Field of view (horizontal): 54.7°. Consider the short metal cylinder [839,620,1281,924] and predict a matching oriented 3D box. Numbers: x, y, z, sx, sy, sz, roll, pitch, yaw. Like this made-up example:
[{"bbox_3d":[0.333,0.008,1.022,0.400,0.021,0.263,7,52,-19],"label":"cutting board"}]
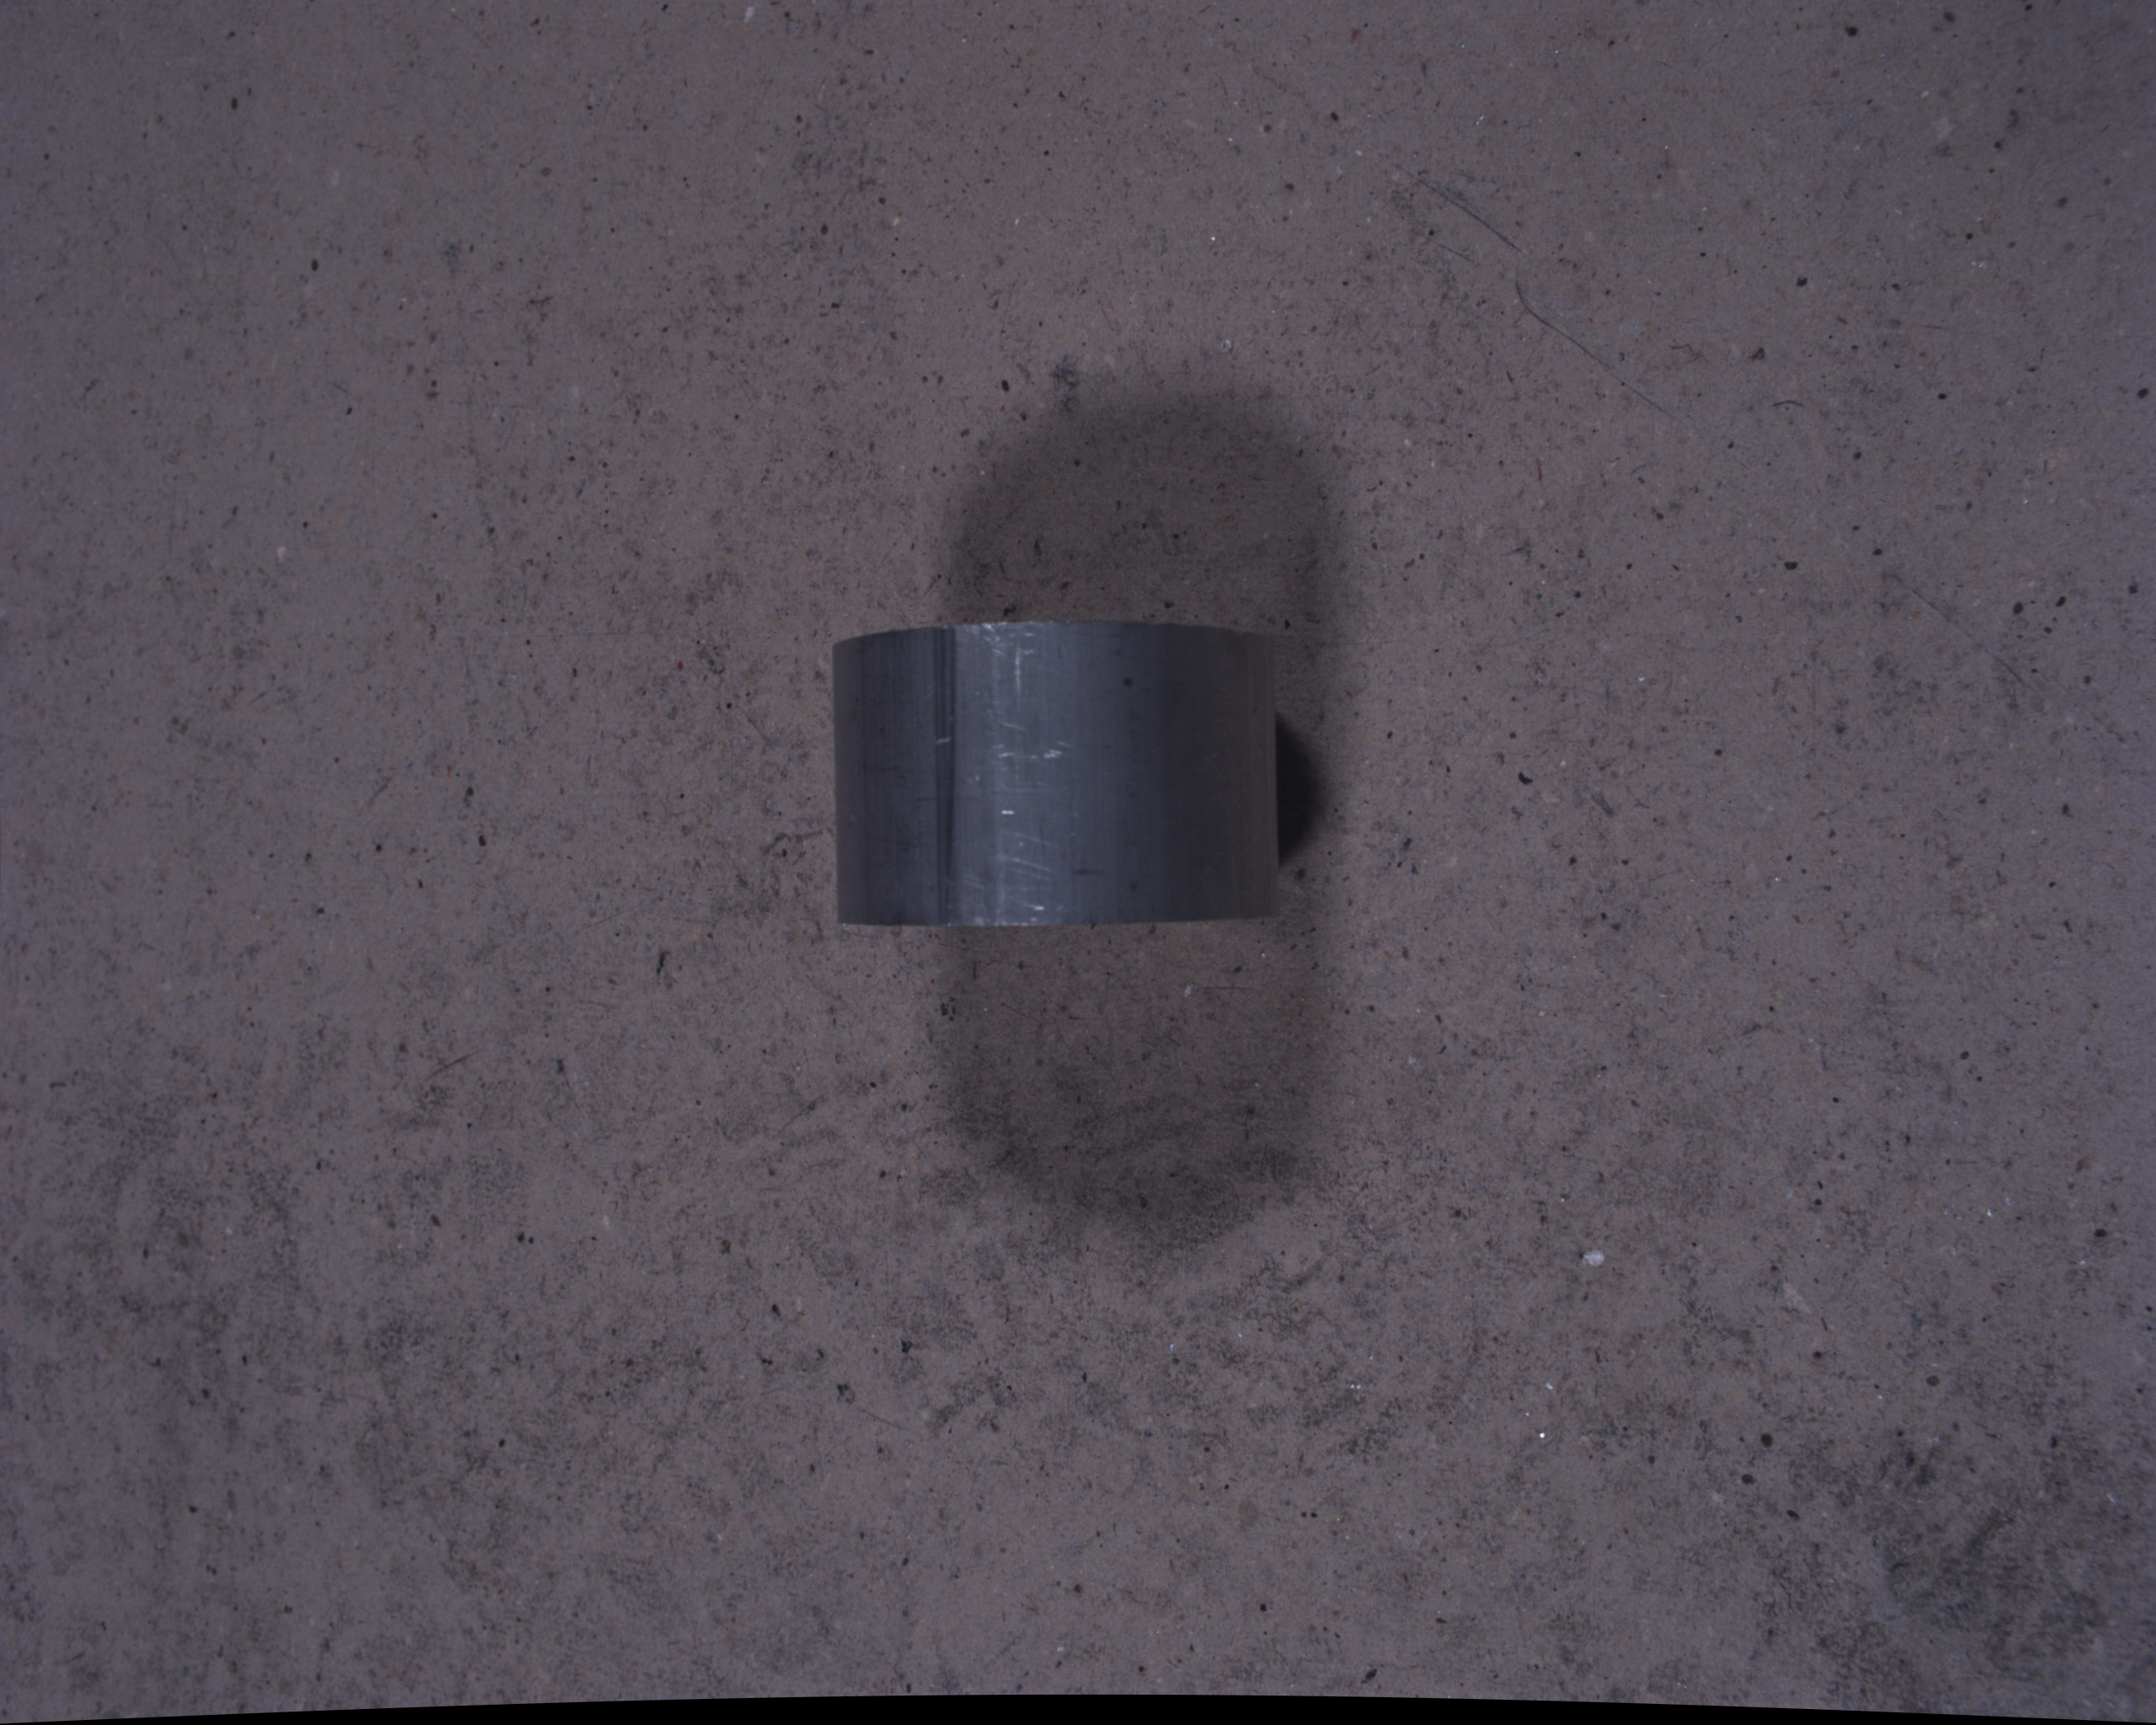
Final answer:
[{"bbox_3d":[-0.003,-0.015,0.382,0.080,0.080,0.050,-1,90,19],"label":"short metal cylinder"}]
